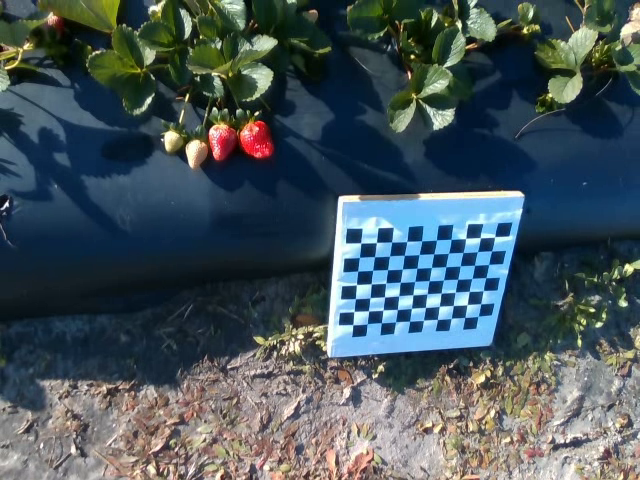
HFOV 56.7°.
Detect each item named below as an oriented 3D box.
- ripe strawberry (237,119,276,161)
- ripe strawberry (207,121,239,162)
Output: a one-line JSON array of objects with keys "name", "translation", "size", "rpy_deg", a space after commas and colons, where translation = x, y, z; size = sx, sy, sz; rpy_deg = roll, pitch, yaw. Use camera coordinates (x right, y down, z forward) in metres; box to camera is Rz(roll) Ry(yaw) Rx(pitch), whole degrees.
[{"name": "ripe strawberry", "translation": [-0.084, -0.137, 0.815], "size": [0.067, 0.056, 0.052], "rpy_deg": [49, 12, 28]}, {"name": "ripe strawberry", "translation": [-0.138, -0.136, 0.810], "size": [0.051, 0.061, 0.044], "rpy_deg": [21, -27, -23]}]
